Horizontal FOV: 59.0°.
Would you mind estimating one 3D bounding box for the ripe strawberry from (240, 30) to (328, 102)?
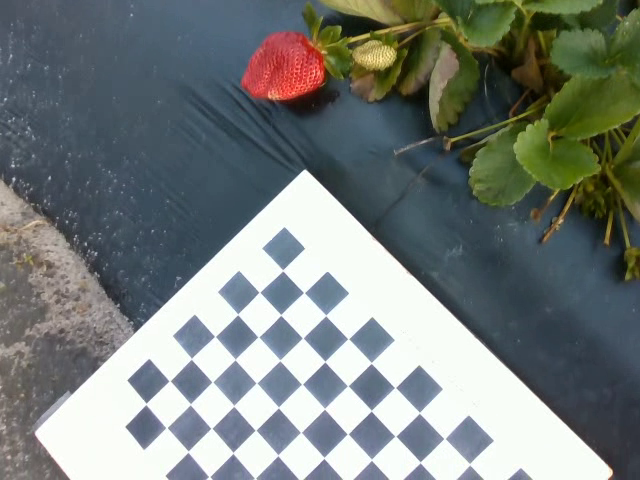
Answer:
[{"bbox_3d":[-0.033,-0.141,0.457,0.074,0.067,0.039,-40,-13,-2],"label":"ripe strawberry"}]
